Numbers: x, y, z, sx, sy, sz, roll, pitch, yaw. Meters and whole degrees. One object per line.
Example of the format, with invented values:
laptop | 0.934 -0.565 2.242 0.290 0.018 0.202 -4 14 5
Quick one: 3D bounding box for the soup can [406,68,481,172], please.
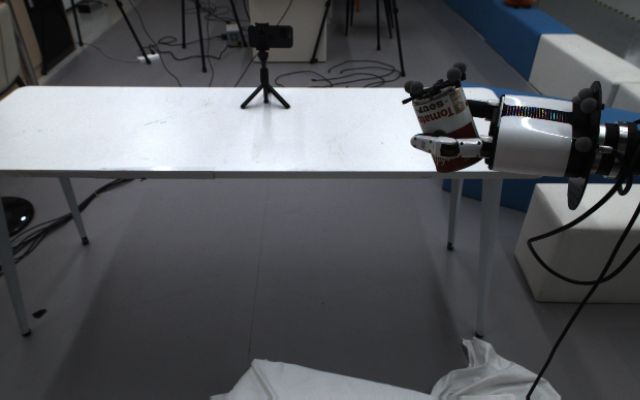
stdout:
soup can | 0.172 -0.097 0.646 0.067 0.101 0.067 -23 16 7
